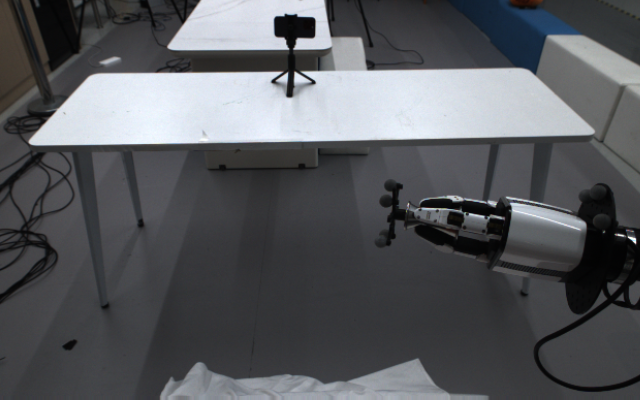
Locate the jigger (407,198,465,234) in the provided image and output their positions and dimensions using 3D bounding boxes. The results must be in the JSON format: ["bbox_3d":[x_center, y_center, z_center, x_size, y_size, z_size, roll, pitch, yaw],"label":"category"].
[{"bbox_3d":[0.153,0.022,0.629,0.071,0.043,0.043,8,35,14],"label":"jigger"}]
